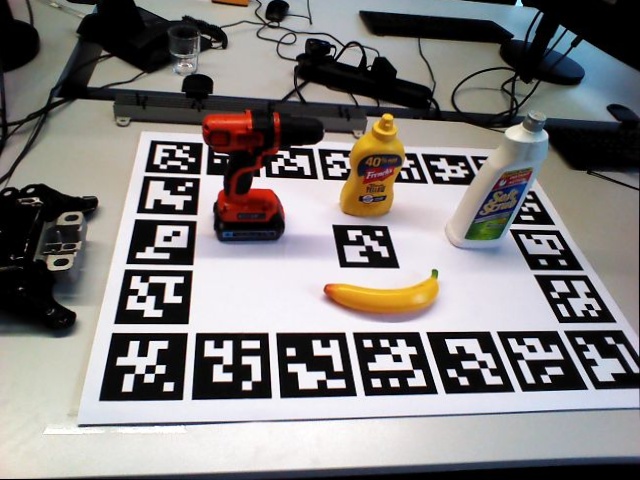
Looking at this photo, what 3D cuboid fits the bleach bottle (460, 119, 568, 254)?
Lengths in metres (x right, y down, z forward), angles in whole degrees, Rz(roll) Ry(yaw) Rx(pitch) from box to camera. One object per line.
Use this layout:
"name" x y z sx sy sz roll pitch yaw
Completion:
"bleach bottle" 0.320 -0.084 0.844 0.103 0.252 0.067 8 45 -4

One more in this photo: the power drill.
"power drill" -0.057 -0.107 0.795 0.184 0.188 0.057 -5 47 -10

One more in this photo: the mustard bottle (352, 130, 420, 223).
"mustard bottle" 0.120 -0.114 0.880 0.096 0.192 0.058 -3 47 -16

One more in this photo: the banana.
"banana" 0.128 0.084 0.779 0.197 0.039 0.074 -4 49 -11
